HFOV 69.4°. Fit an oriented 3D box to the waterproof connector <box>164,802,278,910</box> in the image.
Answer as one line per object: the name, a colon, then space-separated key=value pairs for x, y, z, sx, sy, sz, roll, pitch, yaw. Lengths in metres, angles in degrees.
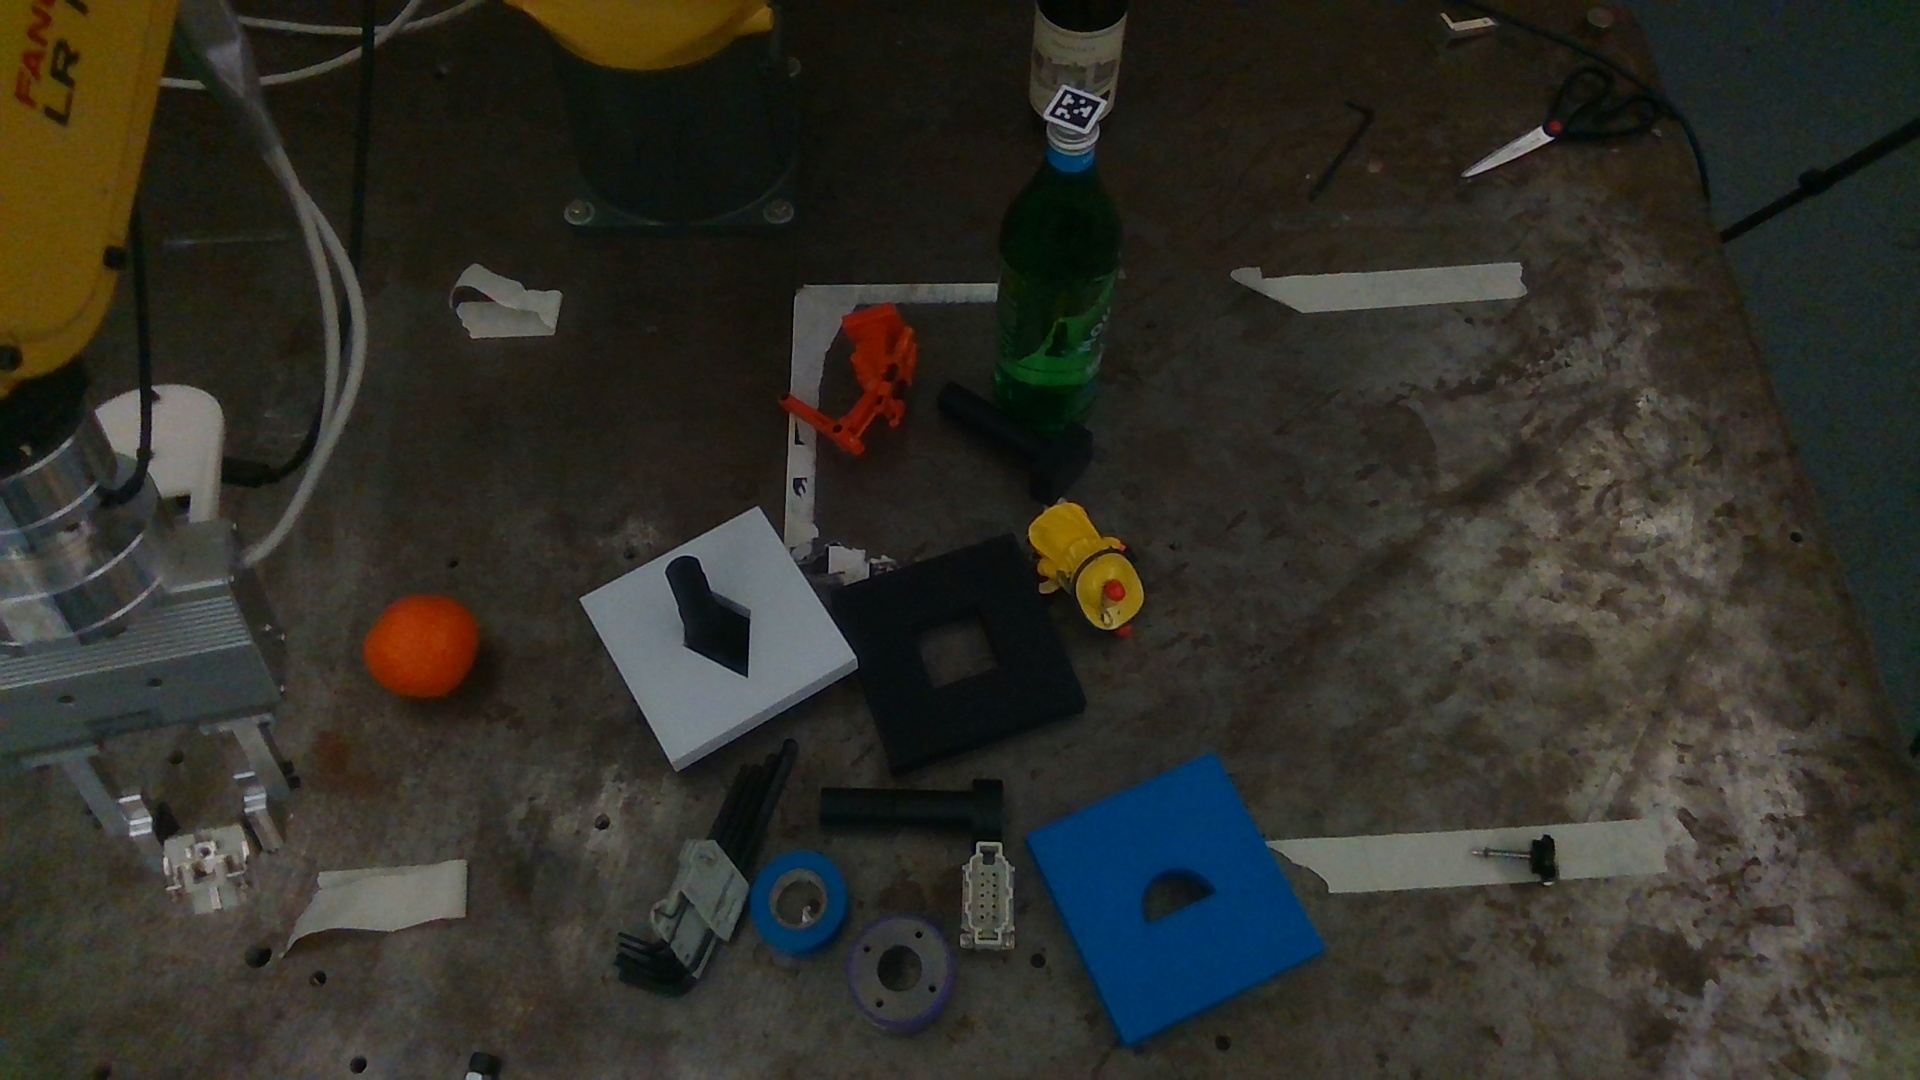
waterproof connector: x=-0.360 y=0.155 z=0.678 sx=0.036 sy=0.069 sz=0.038 roll=-13 pitch=94 yaw=-13
